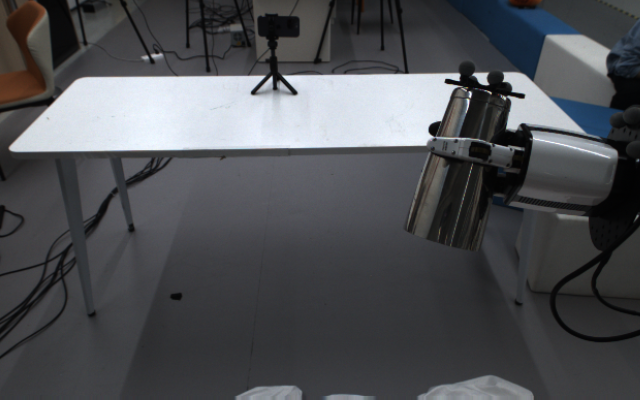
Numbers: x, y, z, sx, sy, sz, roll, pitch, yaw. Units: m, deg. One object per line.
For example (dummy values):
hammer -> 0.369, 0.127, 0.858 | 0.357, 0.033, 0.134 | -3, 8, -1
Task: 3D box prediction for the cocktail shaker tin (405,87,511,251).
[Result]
cocktail shaker tin -> 0.165, -0.037, 0.558 | 0.093, 0.170, 0.093 | 14, 6, -1
